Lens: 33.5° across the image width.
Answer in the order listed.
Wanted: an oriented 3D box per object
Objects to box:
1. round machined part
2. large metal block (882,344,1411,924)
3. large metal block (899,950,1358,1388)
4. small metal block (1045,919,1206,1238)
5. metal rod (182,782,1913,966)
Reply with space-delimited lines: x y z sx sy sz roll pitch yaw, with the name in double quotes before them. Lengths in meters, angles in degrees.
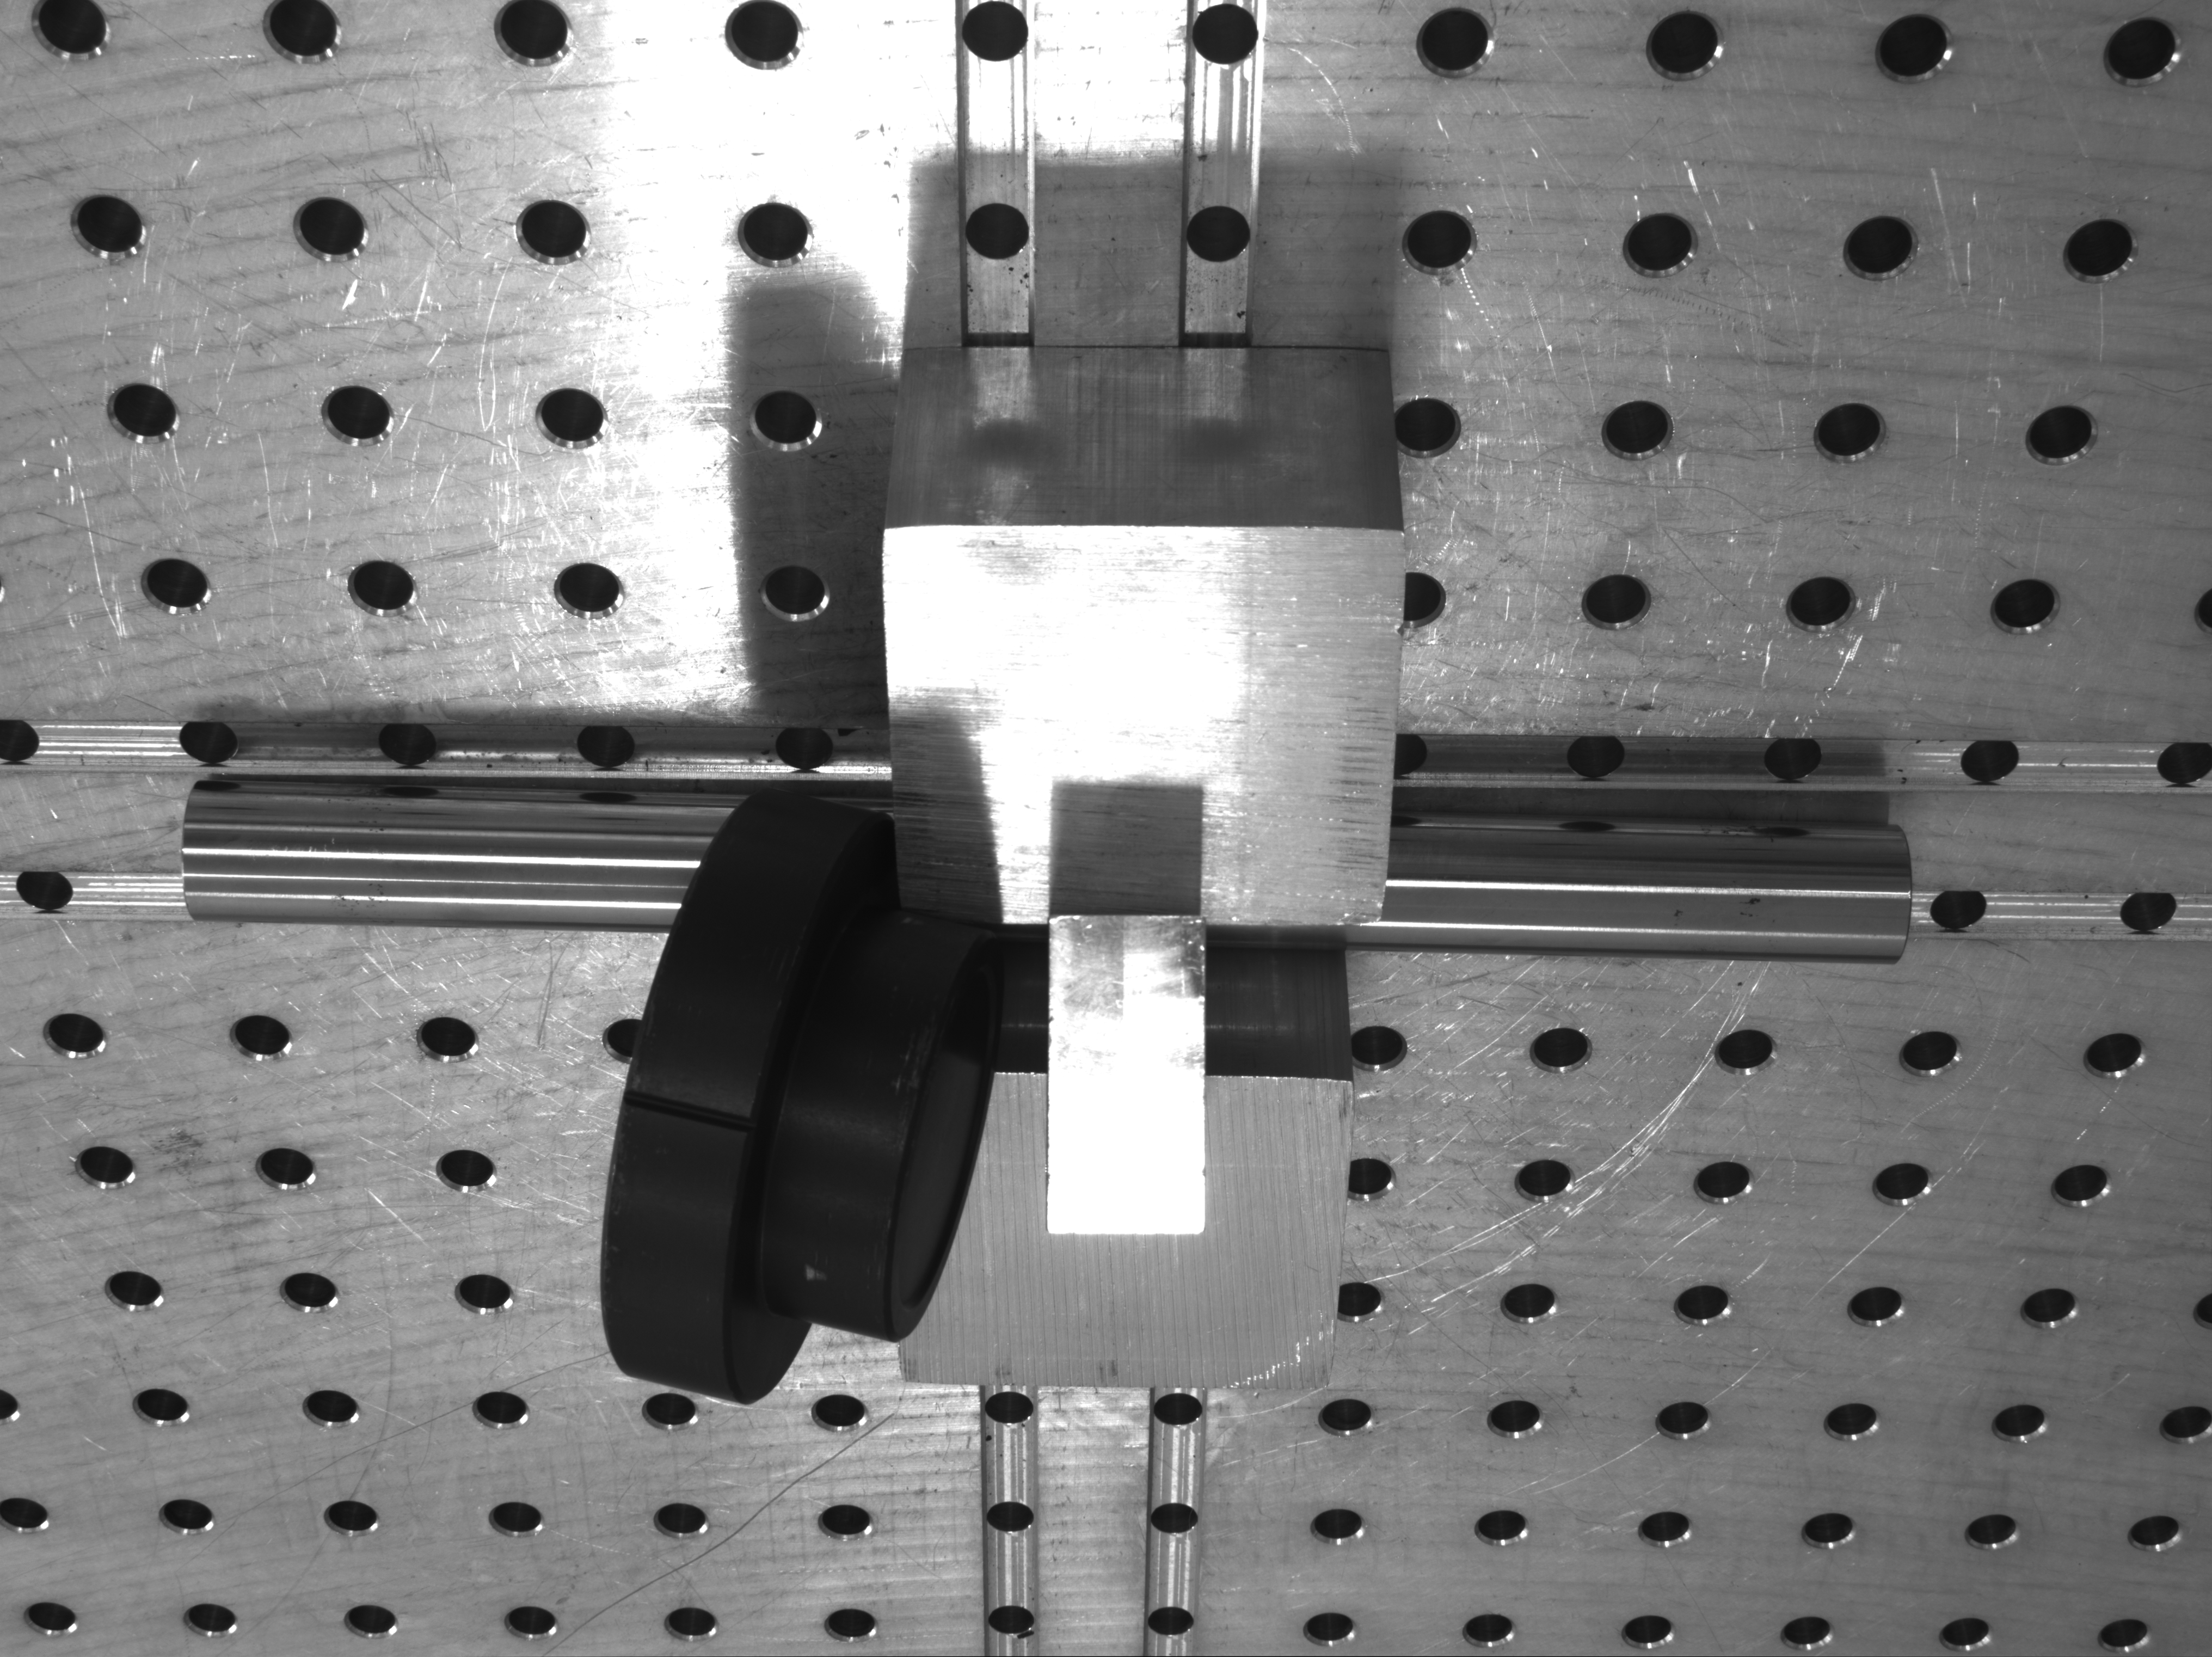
"round machined part" -0.045 0.046 0.596 0.042 0.098 0.098 12 130 9
"large metal block" 0.006 -0.031 0.600 0.080 0.050 0.080 0 130 0
"large metal block" 0.003 0.056 0.674 0.080 0.050 0.080 1 130 -1
"small metal block" 0.003 0.041 0.604 0.025 0.050 0.050 0 86 0
"metal rod" -0.010 0.008 0.649 0.300 0.025 0.025 1 130 -1
